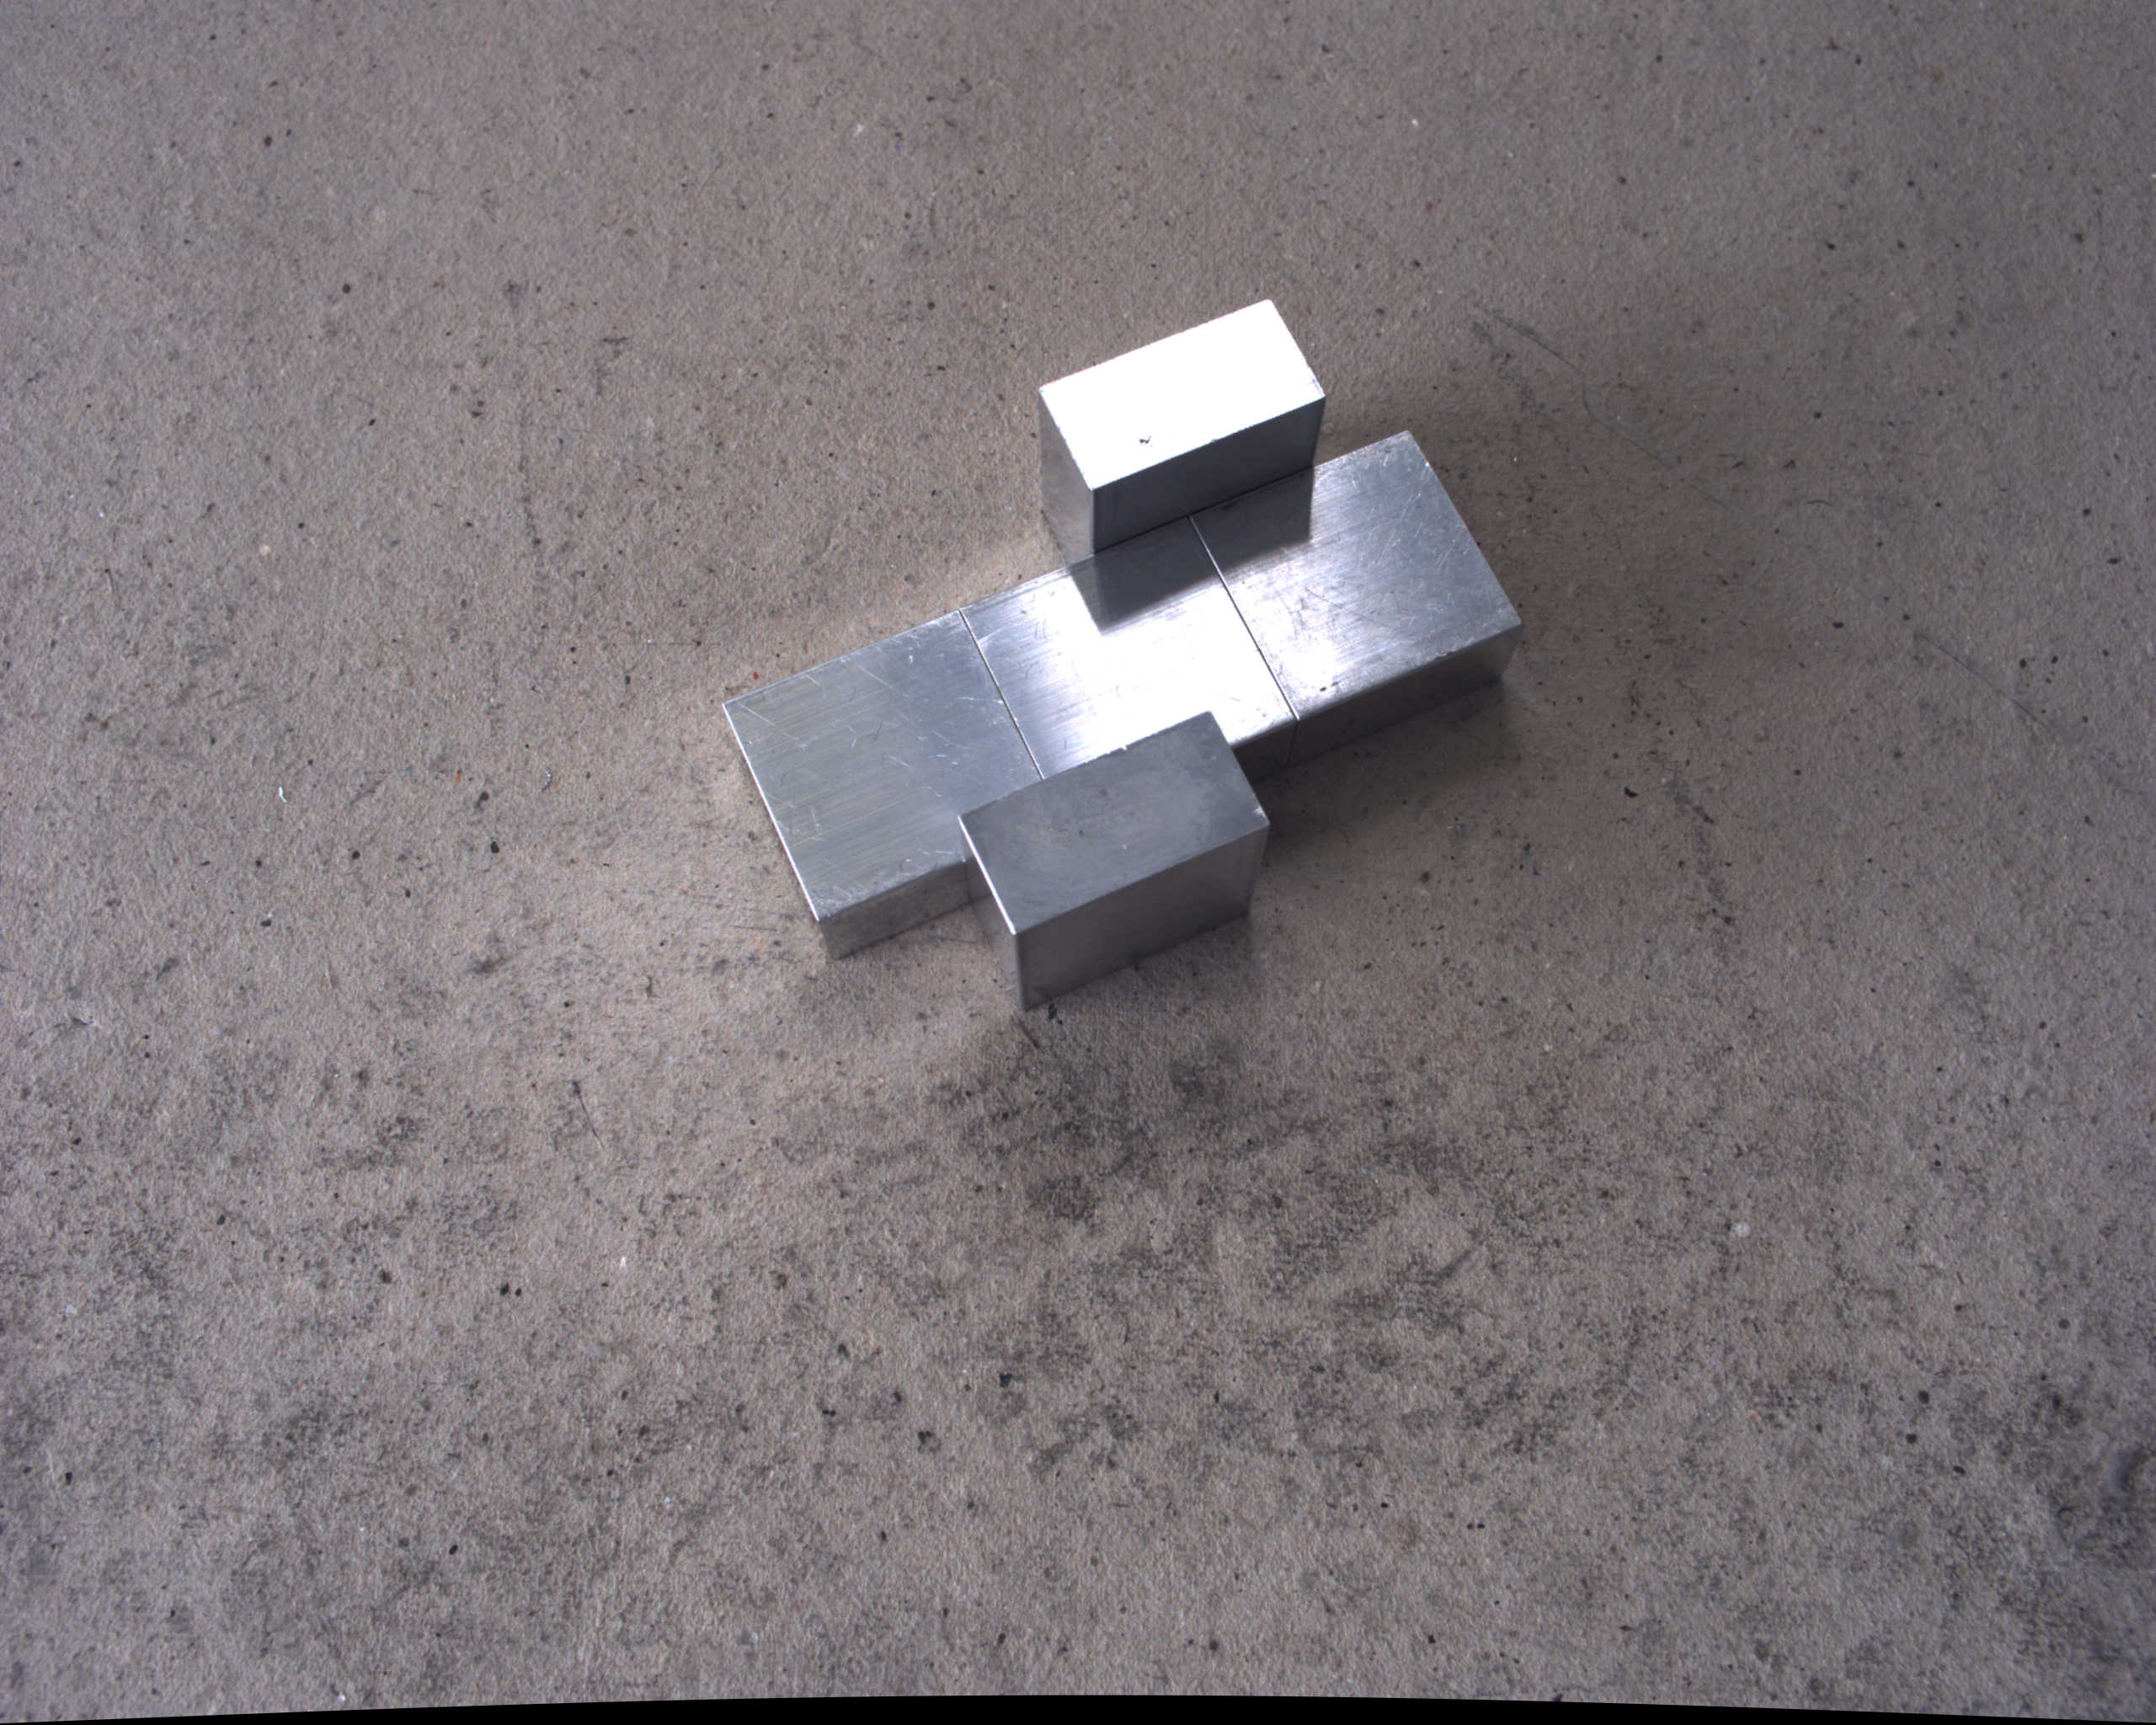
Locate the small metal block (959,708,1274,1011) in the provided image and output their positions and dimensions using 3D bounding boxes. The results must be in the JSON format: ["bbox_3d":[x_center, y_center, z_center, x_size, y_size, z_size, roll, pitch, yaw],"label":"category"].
[{"bbox_3d":[0.007,0.001,0.396,0.050,0.050,0.025,-24,71,-8],"label":"small metal block"}]

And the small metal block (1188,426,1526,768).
[{"bbox_3d":[0.056,-0.055,0.429,0.050,0.025,0.050,-23,72,-8],"label":"small metal block"}]

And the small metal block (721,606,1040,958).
[{"bbox_3d":[-0.036,-0.016,0.414,0.050,0.025,0.050,-23,72,-8],"label":"small metal block"}]

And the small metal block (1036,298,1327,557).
[{"bbox_3d":[0.020,-0.082,0.427,0.050,0.050,0.025,-23,72,-7],"label":"small metal block"}]

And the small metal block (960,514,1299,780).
[{"bbox_3d":[0.010,-0.035,0.422,0.050,0.025,0.050,-23,72,-8],"label":"small metal block"}]
